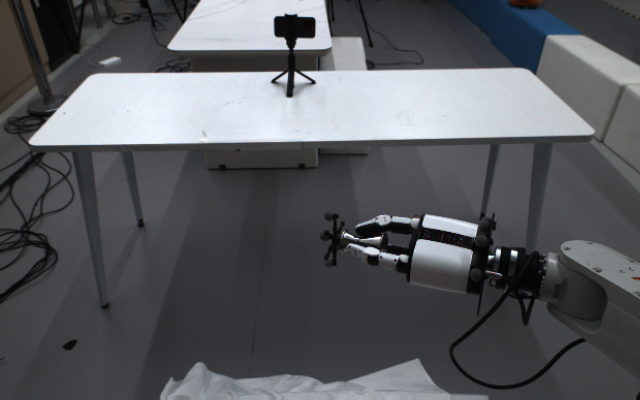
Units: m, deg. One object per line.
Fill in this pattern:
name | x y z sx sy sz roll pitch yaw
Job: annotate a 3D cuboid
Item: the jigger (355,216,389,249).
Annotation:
jigger | 0.078 0.067 0.781 0.071 0.043 0.043 5 33 22
